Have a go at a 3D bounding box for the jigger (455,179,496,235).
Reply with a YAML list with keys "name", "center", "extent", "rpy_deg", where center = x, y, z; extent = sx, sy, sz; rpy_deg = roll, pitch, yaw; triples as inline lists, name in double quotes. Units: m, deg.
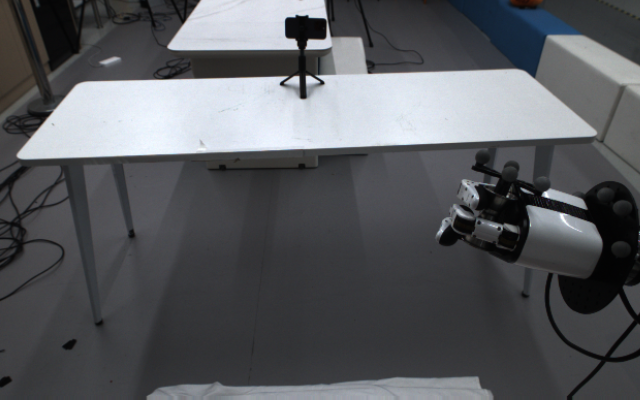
- name: "jigger"
  center: [0.200, 0.021, 0.572]
  extent: [0.043, 0.071, 0.043]
  rpy_deg: [18, 17, -6]
